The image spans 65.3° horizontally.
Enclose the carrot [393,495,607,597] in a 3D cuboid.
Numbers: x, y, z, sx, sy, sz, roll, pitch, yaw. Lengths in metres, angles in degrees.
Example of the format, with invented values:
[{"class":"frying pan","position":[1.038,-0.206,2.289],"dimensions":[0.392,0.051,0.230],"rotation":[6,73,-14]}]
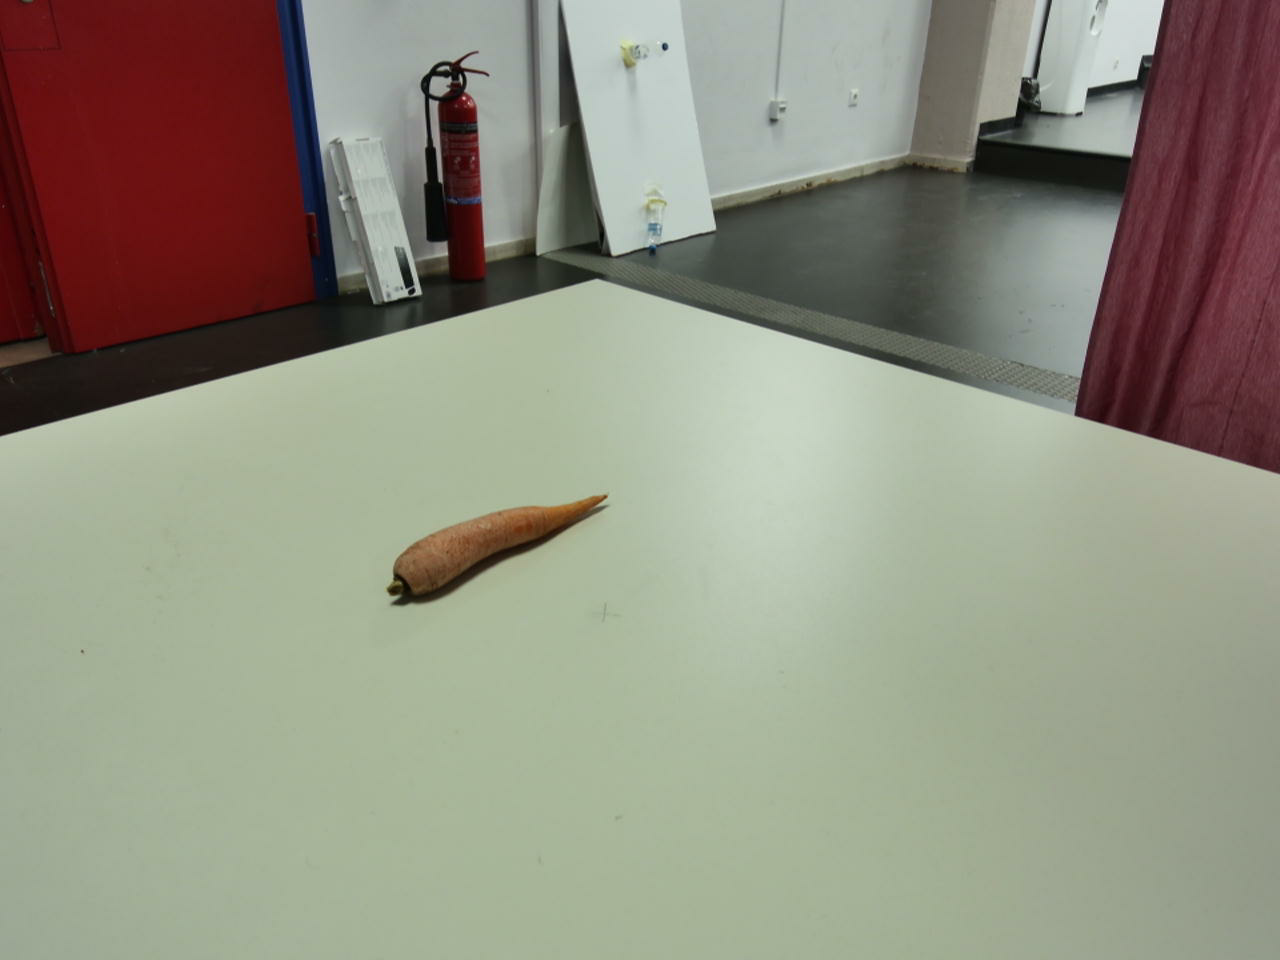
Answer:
[{"class":"carrot","position":[-0.082,0.030,0.599],"dimensions":[0.031,0.029,0.163],"rotation":[22,33,37]}]
